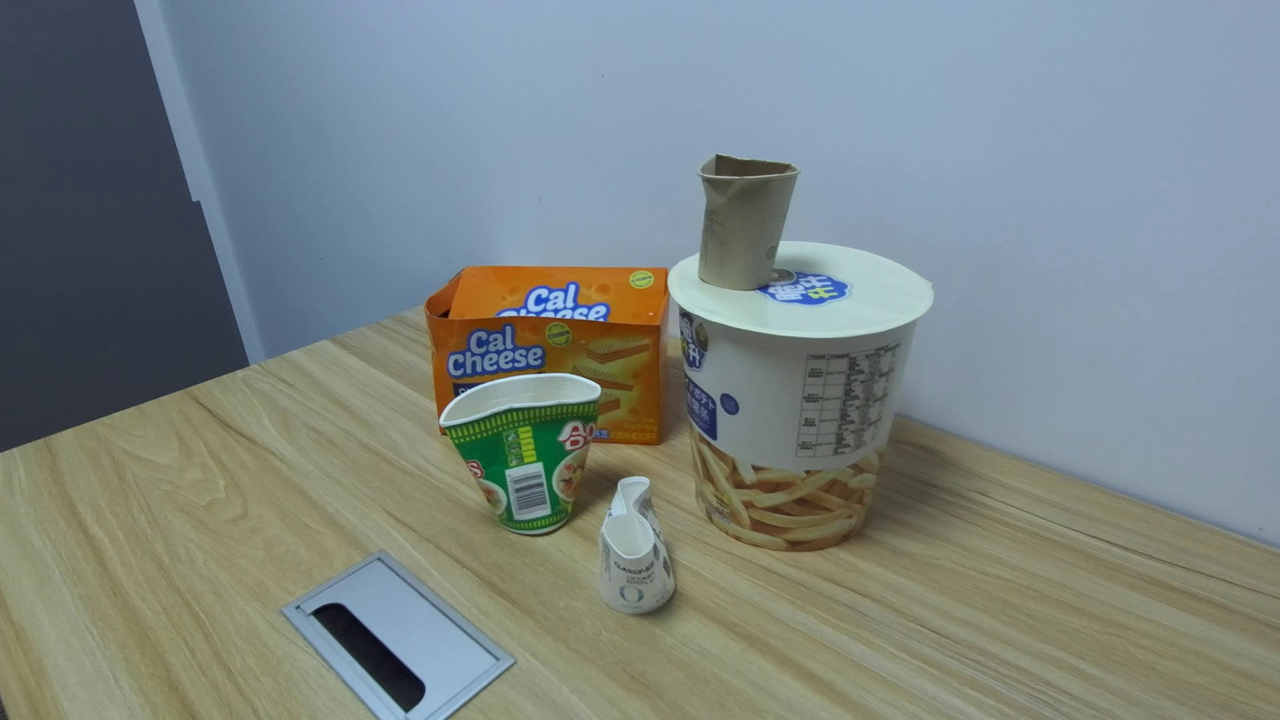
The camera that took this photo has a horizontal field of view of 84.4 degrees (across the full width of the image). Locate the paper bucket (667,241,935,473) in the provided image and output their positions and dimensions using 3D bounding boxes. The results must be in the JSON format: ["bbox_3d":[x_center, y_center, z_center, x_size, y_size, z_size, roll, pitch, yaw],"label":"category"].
[{"bbox_3d":[0.116,0.027,0.561,0.198,0.195,0.198,-1,28,1],"label":"paper bucket"}]

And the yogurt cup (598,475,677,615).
[{"bbox_3d":[-0.003,0.133,0.495,0.054,0.071,0.075,-15,30,-20],"label":"yogurt cup"}]

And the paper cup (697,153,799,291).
[{"bbox_3d":[0.073,-0.097,0.505,0.071,0.084,0.066,7,28,9],"label":"paper cup"}]

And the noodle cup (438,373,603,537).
[{"bbox_3d":[-0.088,0.075,0.567,0.115,0.111,0.070,1,30,4],"label":"noodle cup"}]

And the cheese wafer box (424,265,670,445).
[{"bbox_3d":[-0.086,-0.009,0.715,0.230,0.132,0.152,2,29,5],"label":"cheese wafer box"}]
